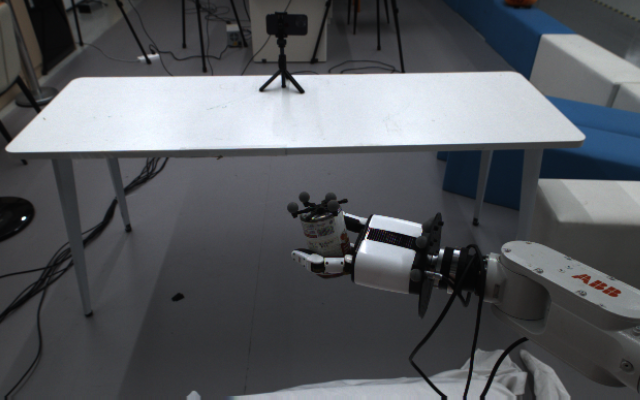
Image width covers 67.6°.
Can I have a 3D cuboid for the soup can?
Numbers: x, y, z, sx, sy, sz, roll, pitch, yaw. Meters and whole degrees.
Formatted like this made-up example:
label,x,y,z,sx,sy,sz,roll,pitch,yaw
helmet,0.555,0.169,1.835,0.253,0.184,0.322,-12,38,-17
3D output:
label,x,y,z,sx,sy,sz,roll,pitch,yaw
soup can,0.013,0.062,0.756,0.067,0.101,0.067,-13,20,5
